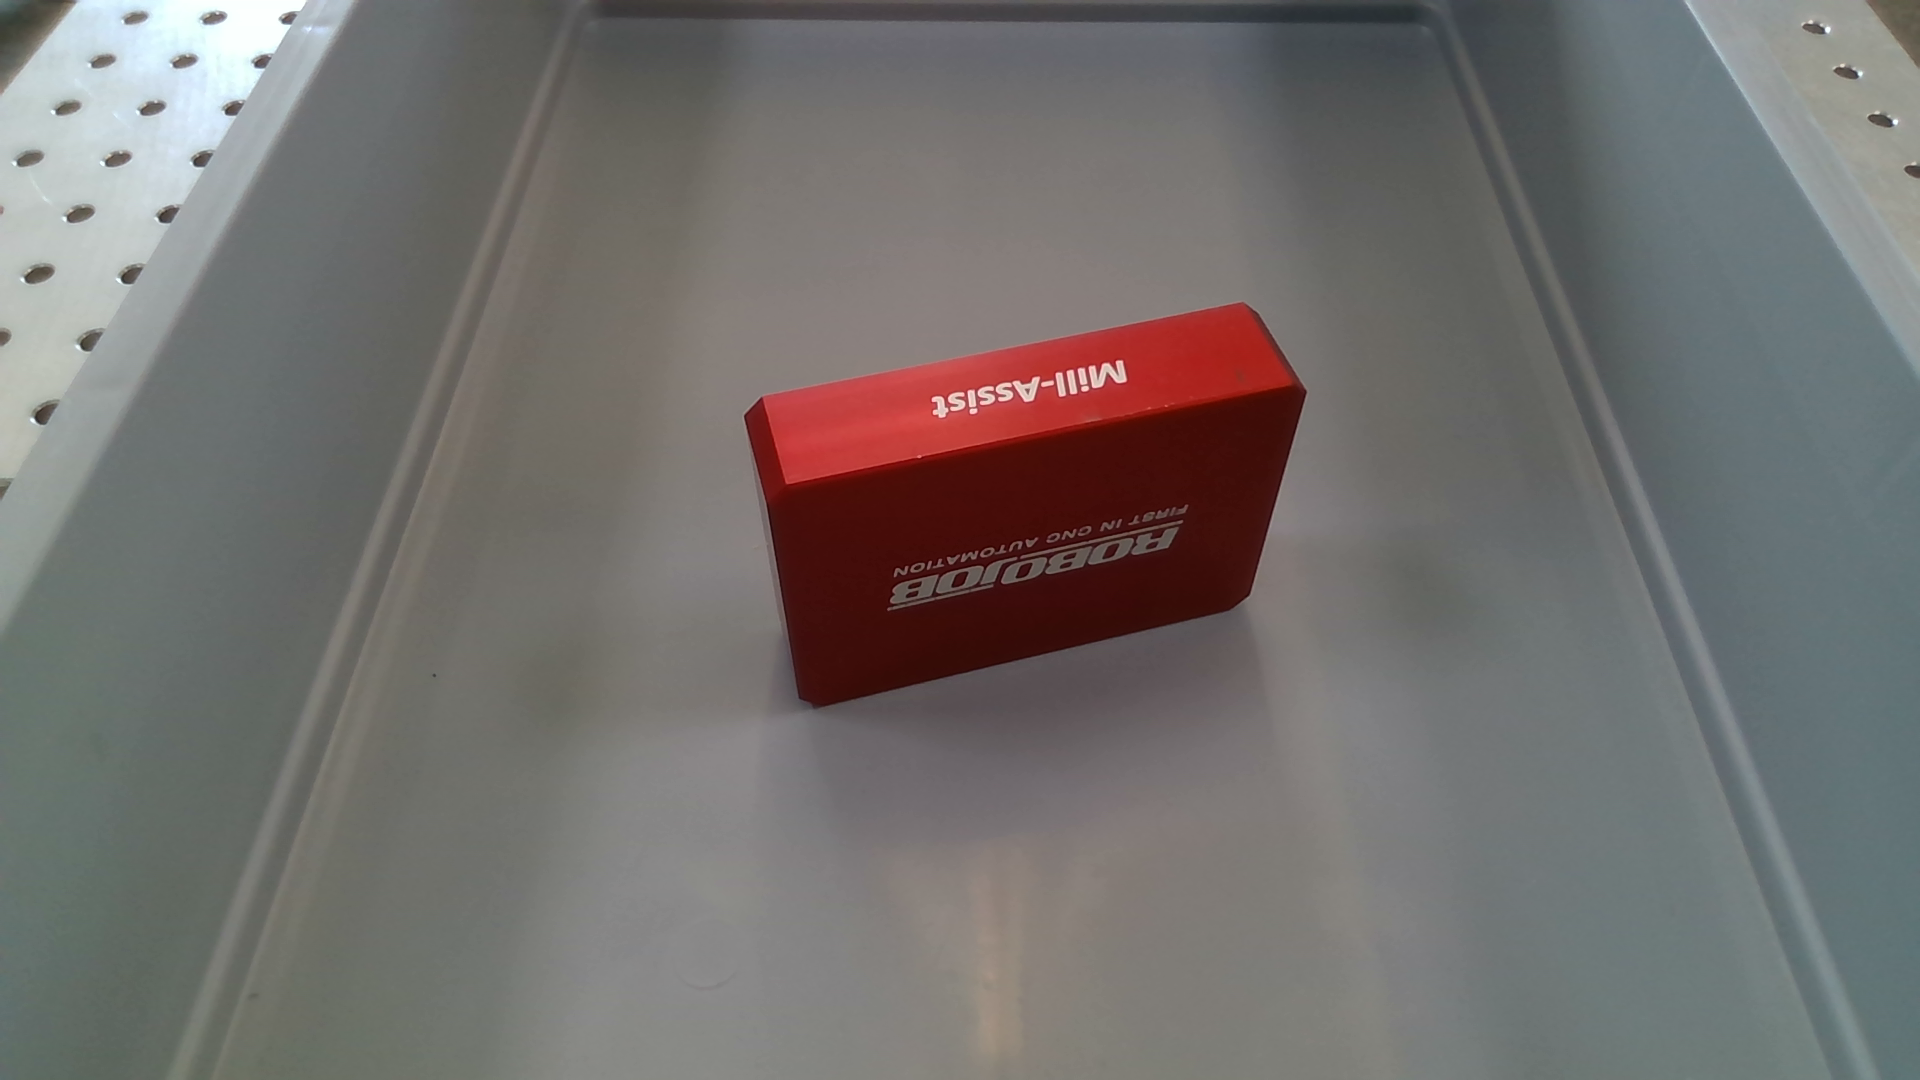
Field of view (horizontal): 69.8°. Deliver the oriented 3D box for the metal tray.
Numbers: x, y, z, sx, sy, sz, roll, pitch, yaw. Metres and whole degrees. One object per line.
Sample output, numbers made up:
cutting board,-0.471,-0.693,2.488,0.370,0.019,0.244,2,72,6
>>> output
metal tray,0.016,-0.007,0.354,0.130,0.090,0.030,-12,52,-10
